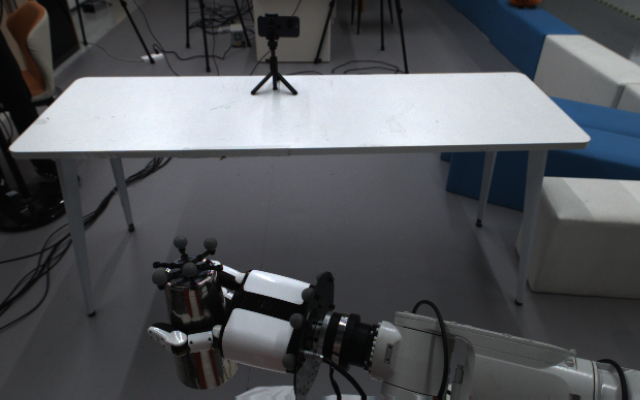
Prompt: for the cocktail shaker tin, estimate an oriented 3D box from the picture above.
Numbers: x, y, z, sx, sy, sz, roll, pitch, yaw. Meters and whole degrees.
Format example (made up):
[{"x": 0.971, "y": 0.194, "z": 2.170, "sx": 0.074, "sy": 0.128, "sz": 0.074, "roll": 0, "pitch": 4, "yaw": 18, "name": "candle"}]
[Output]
[{"x": -0.161, "y": 0.161, "z": 0.650, "sx": 0.093, "sy": 0.170, "sz": 0.093, "roll": -1, "pitch": 33, "yaw": 0, "name": "cocktail shaker tin"}]
